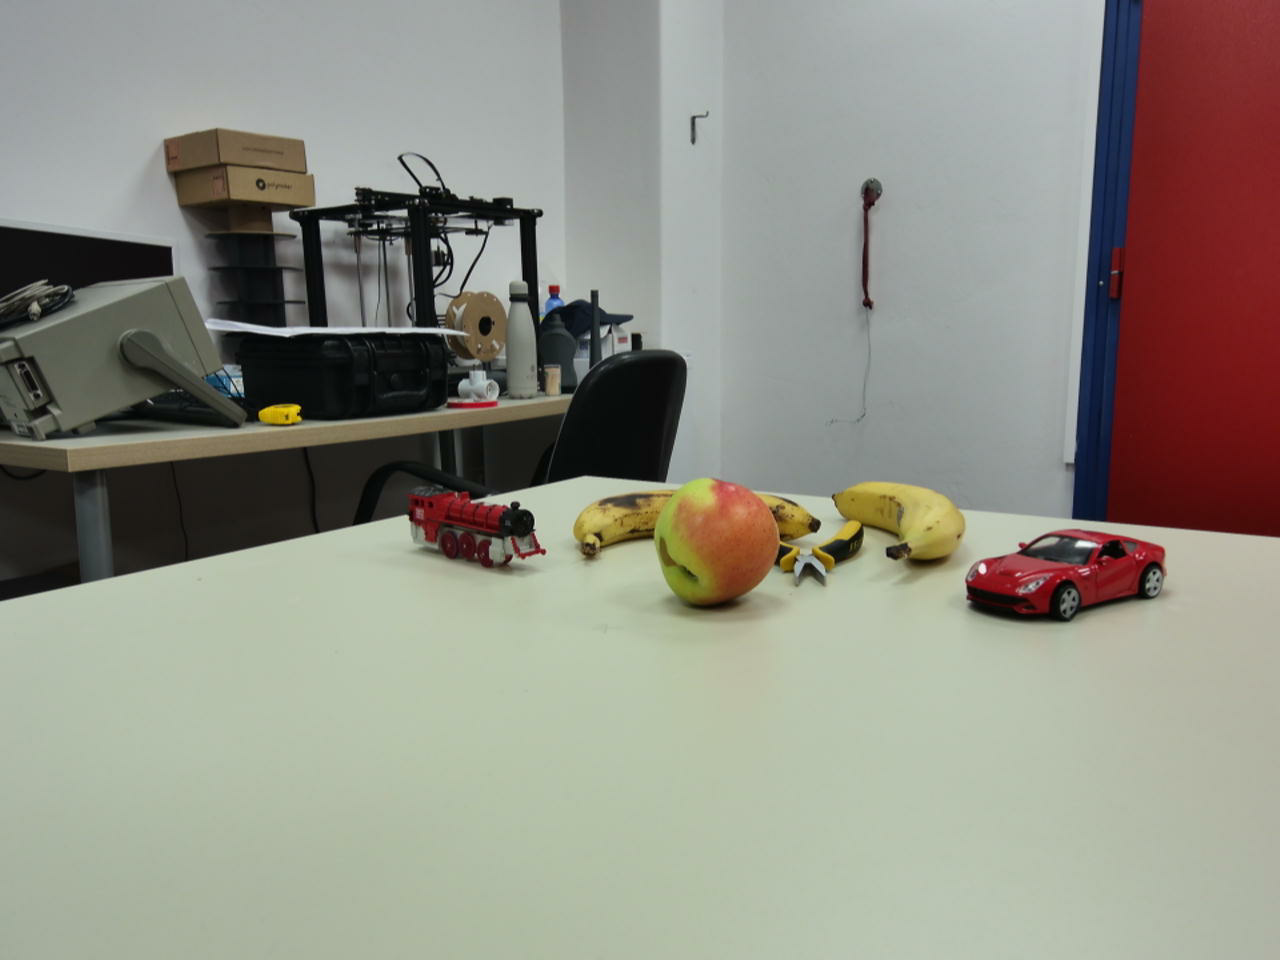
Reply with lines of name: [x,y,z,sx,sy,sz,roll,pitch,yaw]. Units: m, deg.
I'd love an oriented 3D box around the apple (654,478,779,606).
apple: [0.045,0.037,0.604,0.075,0.074,0.075,1,7,15]
